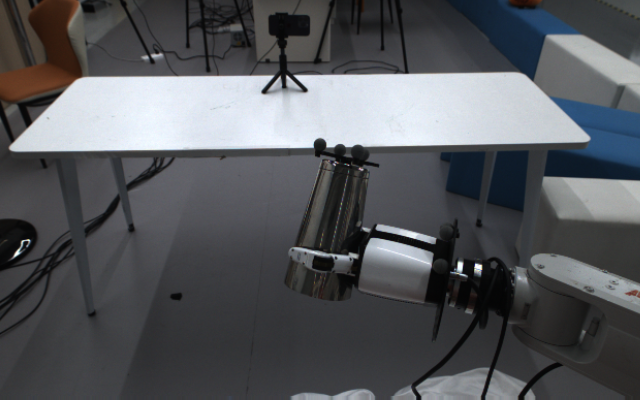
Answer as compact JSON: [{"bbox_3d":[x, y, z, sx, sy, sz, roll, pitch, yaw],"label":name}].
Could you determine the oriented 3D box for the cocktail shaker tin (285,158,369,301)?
[{"bbox_3d":[0.015,0.037,0.643,0.093,0.170,0.093,13,4,-1],"label":"cocktail shaker tin"}]
